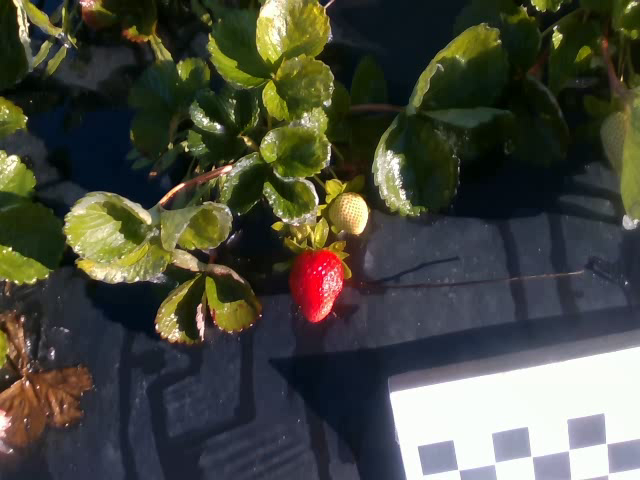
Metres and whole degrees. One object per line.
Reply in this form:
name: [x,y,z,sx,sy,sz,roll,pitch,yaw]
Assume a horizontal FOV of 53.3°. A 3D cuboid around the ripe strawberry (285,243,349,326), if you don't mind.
ripe strawberry: [0.001,0.026,0.311,0.039,0.039,0.040,-18,-47,19]
